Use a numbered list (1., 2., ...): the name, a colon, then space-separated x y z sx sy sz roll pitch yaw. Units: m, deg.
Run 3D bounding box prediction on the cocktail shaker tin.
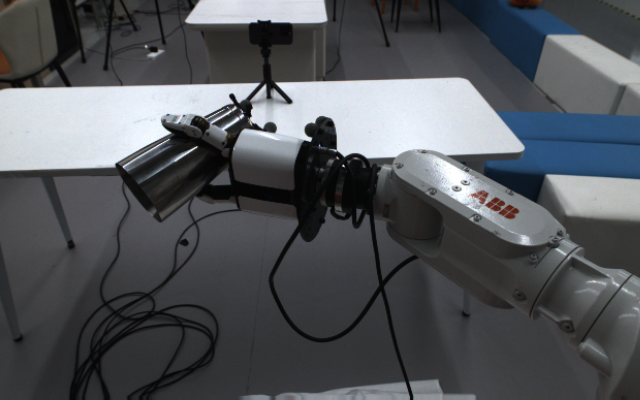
1. cocktail shaker tin: -0.169 -0.061 0.644 0.170 0.093 0.093 -38 49 -23
